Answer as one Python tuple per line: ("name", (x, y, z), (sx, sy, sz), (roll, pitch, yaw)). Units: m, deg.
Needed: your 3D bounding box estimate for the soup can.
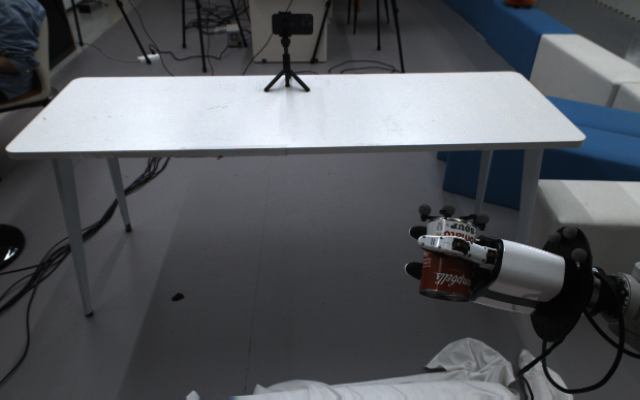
("soup can", (0.176, 0.081, 0.657), (0.067, 0.067, 0.101), (8, 72, 9))
